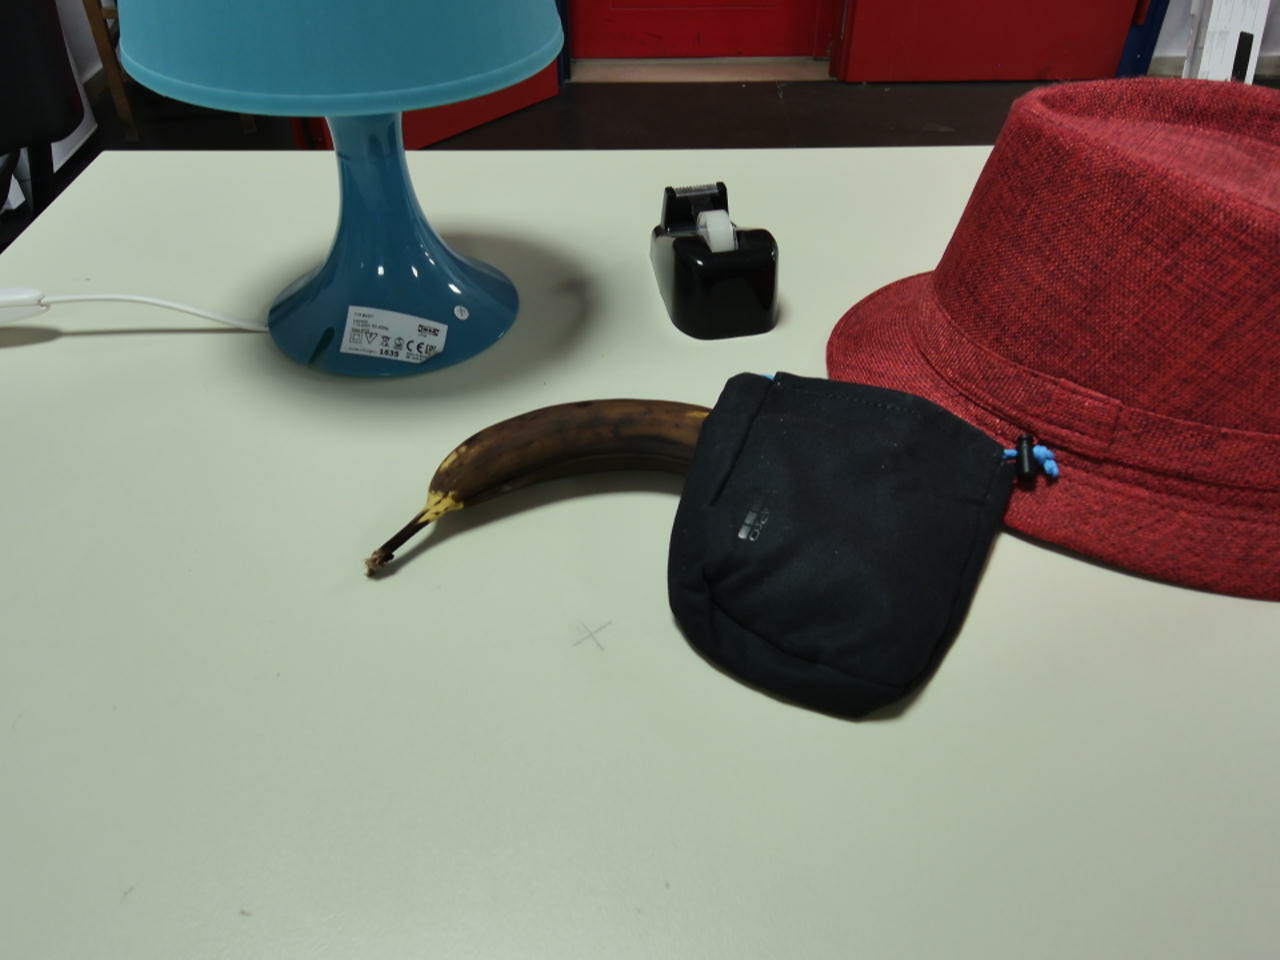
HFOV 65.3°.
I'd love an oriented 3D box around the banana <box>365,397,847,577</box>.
[{"bbox_3d":[-0.012,-0.003,0.414,0.188,0.034,0.091,0,39,1],"label":"banana"}]
